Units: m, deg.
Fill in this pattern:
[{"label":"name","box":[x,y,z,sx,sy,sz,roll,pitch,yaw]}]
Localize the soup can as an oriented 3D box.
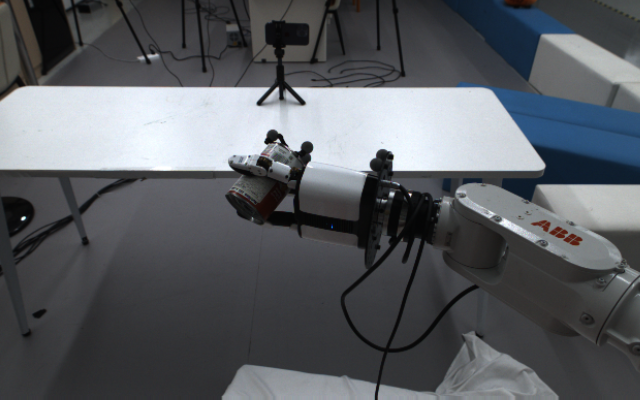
[{"label":"soup can","box":[-0.076,-0.023,0.686,0.067,0.067,0.101,25,66,30]}]
